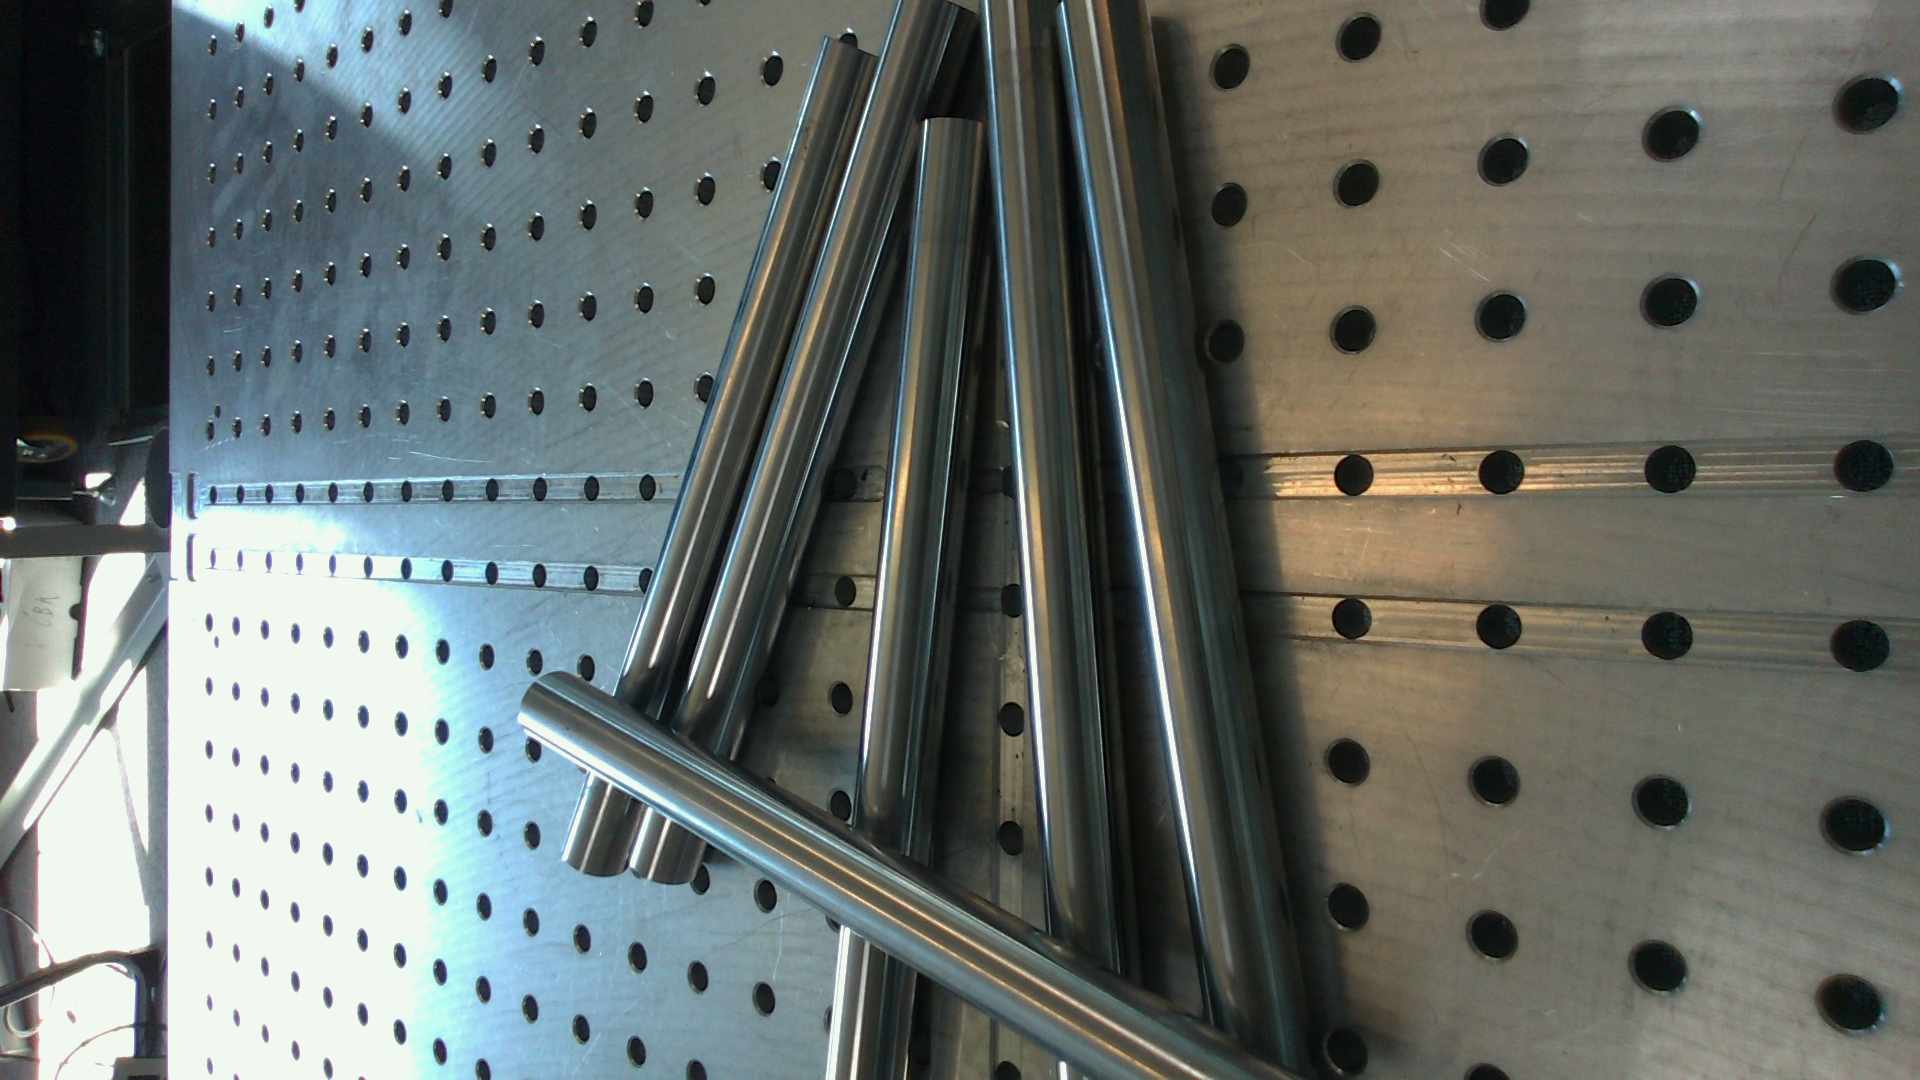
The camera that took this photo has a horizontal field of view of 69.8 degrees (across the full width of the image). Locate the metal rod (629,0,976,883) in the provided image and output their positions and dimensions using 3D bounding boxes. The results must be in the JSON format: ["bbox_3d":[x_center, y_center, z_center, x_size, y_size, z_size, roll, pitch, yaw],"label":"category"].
[{"bbox_3d":[-0.056,-0.021,0.445,0.025,0.025,0.300,32,110,36],"label":"metal rod"}]

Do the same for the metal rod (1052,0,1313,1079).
[{"bbox_3d":[0.057,0.007,0.350,0.025,0.025,0.300,-13,82,39],"label":"metal rod"}]

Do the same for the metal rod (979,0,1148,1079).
[{"bbox_3d":[0.027,-0.007,0.375,0.025,0.025,0.300,-7,86,40],"label":"metal rod"}]

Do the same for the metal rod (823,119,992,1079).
[{"bbox_3d":[-0.015,0.030,0.411,0.025,0.025,0.300,10,97,40],"label":"metal rod"}]

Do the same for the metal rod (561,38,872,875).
[{"bbox_3d":[-0.084,-0.017,0.468,0.025,0.025,0.300,34,111,35],"label":"metal rod"}]
